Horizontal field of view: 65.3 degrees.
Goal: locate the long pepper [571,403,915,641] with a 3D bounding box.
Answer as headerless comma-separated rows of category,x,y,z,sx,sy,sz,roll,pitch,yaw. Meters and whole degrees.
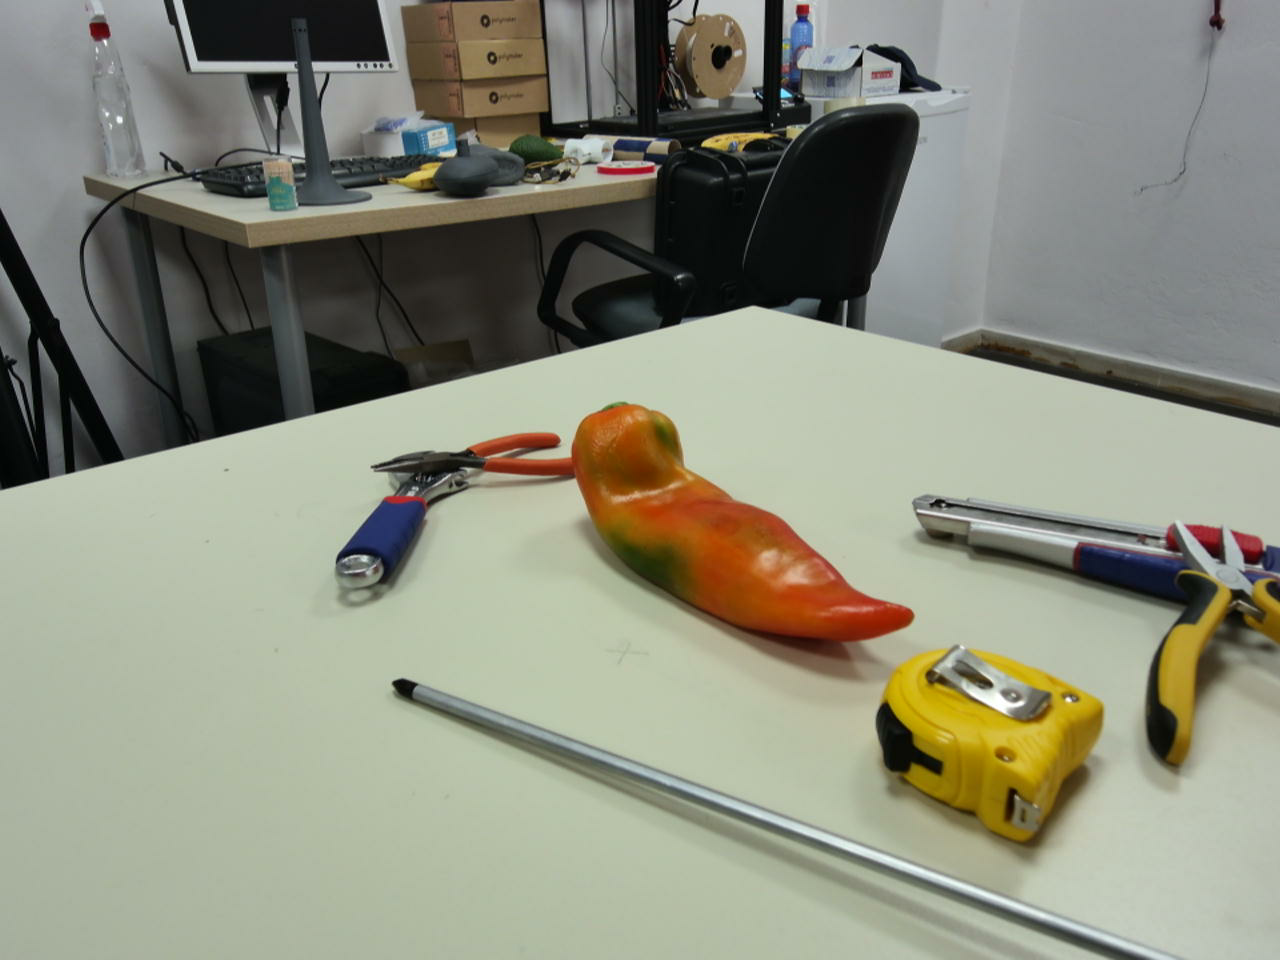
long pepper,0.037,0.017,0.440,0.066,0.065,0.199,-14,26,-31
